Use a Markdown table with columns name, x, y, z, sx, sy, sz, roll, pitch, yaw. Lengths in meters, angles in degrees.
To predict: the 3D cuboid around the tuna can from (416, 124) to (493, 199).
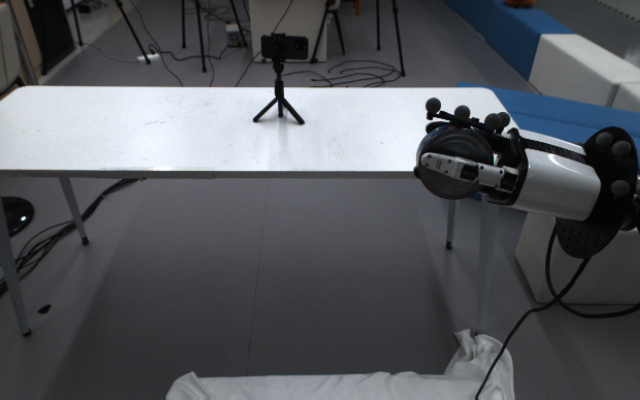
| name | x | y | z | sx | sy | sz | roll | pitch | yaw |
| --- | --- | --- | --- | --- | --- | --- | --- | --- | --- |
| tuna can | 0.159 | -0.049 | 0.573 | 0.085 | 0.085 | 0.034 | 4 | 19 | 3 |
